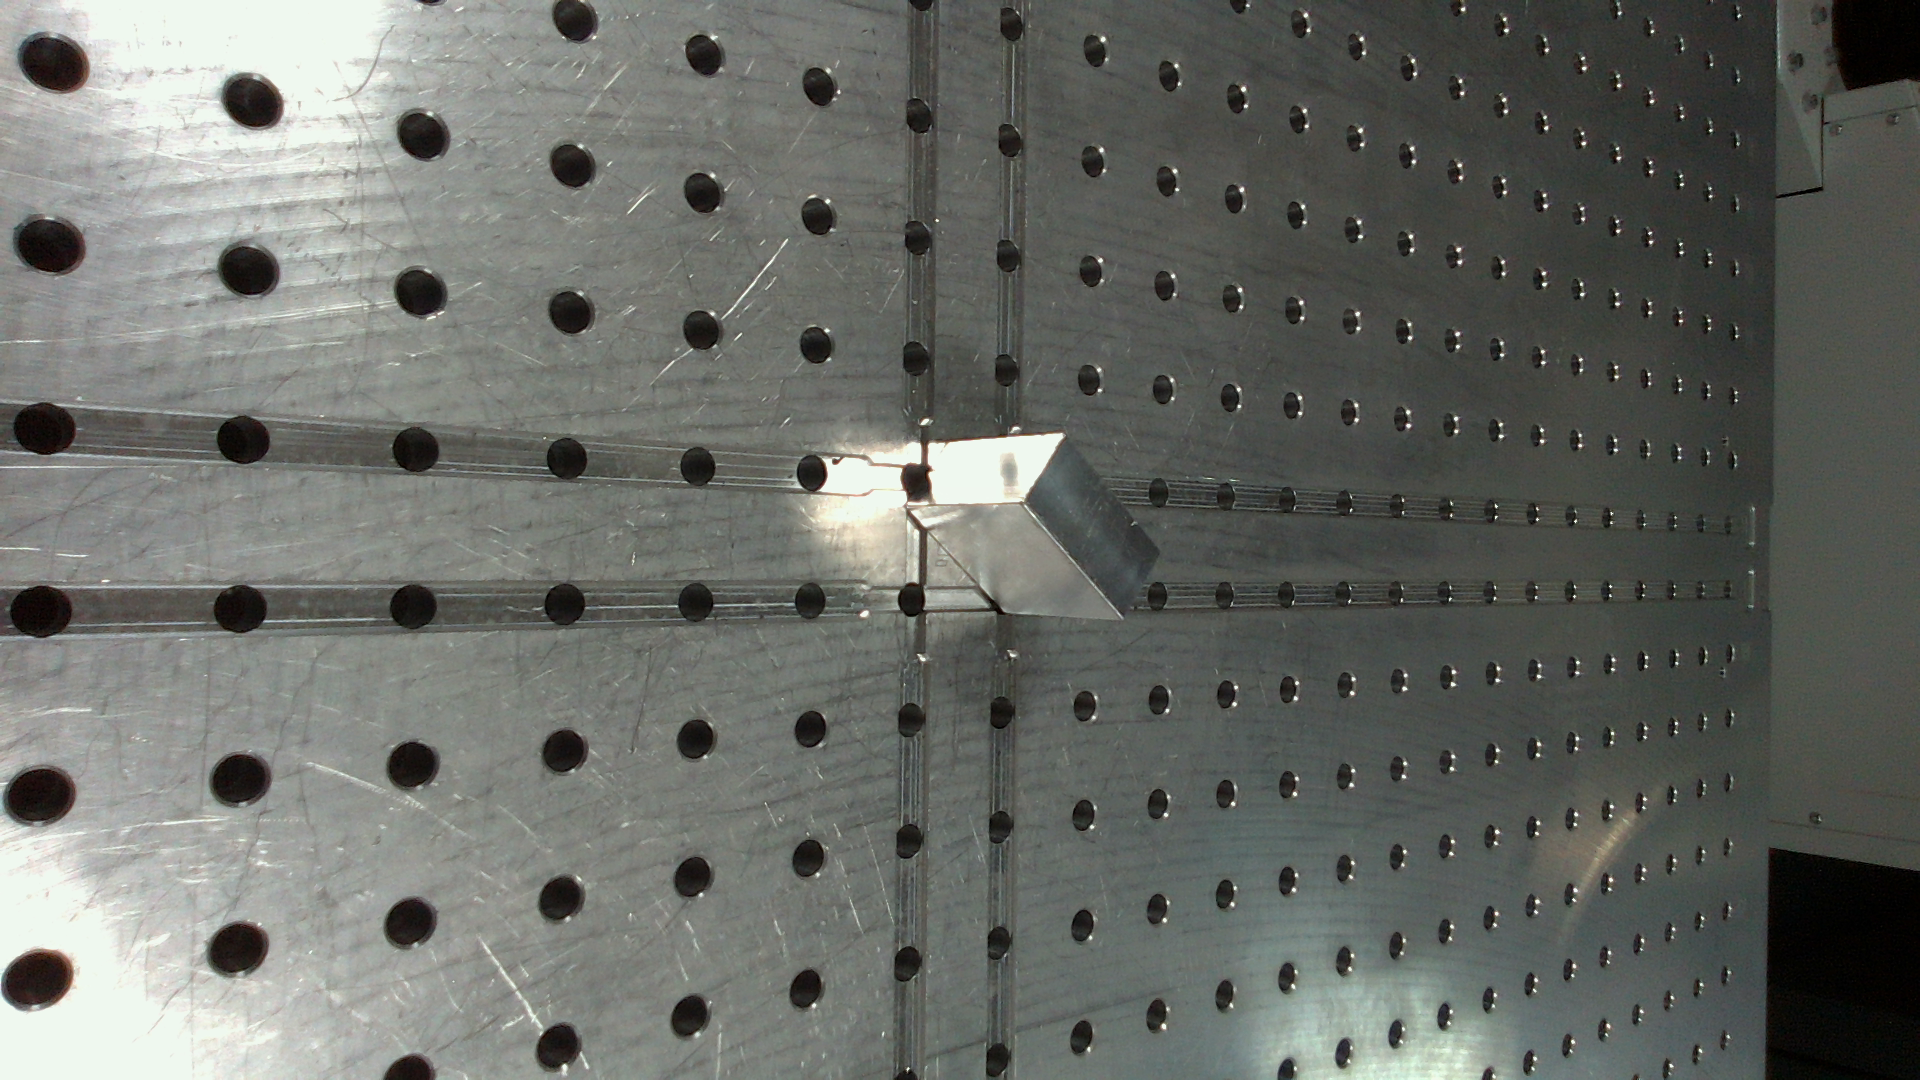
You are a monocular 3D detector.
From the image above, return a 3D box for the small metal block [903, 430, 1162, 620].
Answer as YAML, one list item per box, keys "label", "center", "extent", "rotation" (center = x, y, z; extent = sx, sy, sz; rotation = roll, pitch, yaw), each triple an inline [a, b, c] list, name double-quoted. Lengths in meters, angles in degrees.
- label: "small metal block"
  center: [0.021, -0.004, 0.393]
  extent: [0.050, 0.050, 0.025]
  rotation: [47, 62, -29]
